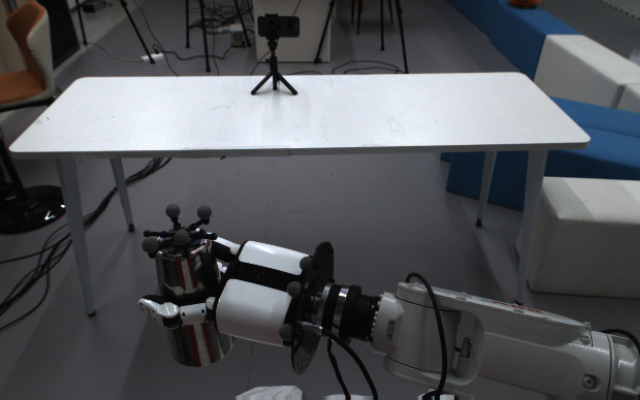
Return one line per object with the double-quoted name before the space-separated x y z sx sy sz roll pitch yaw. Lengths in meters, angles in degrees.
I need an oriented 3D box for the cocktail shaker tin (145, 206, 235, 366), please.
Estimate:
"cocktail shaker tin" -0.161 0.120 0.621 0.093 0.170 0.093 -1 33 1
